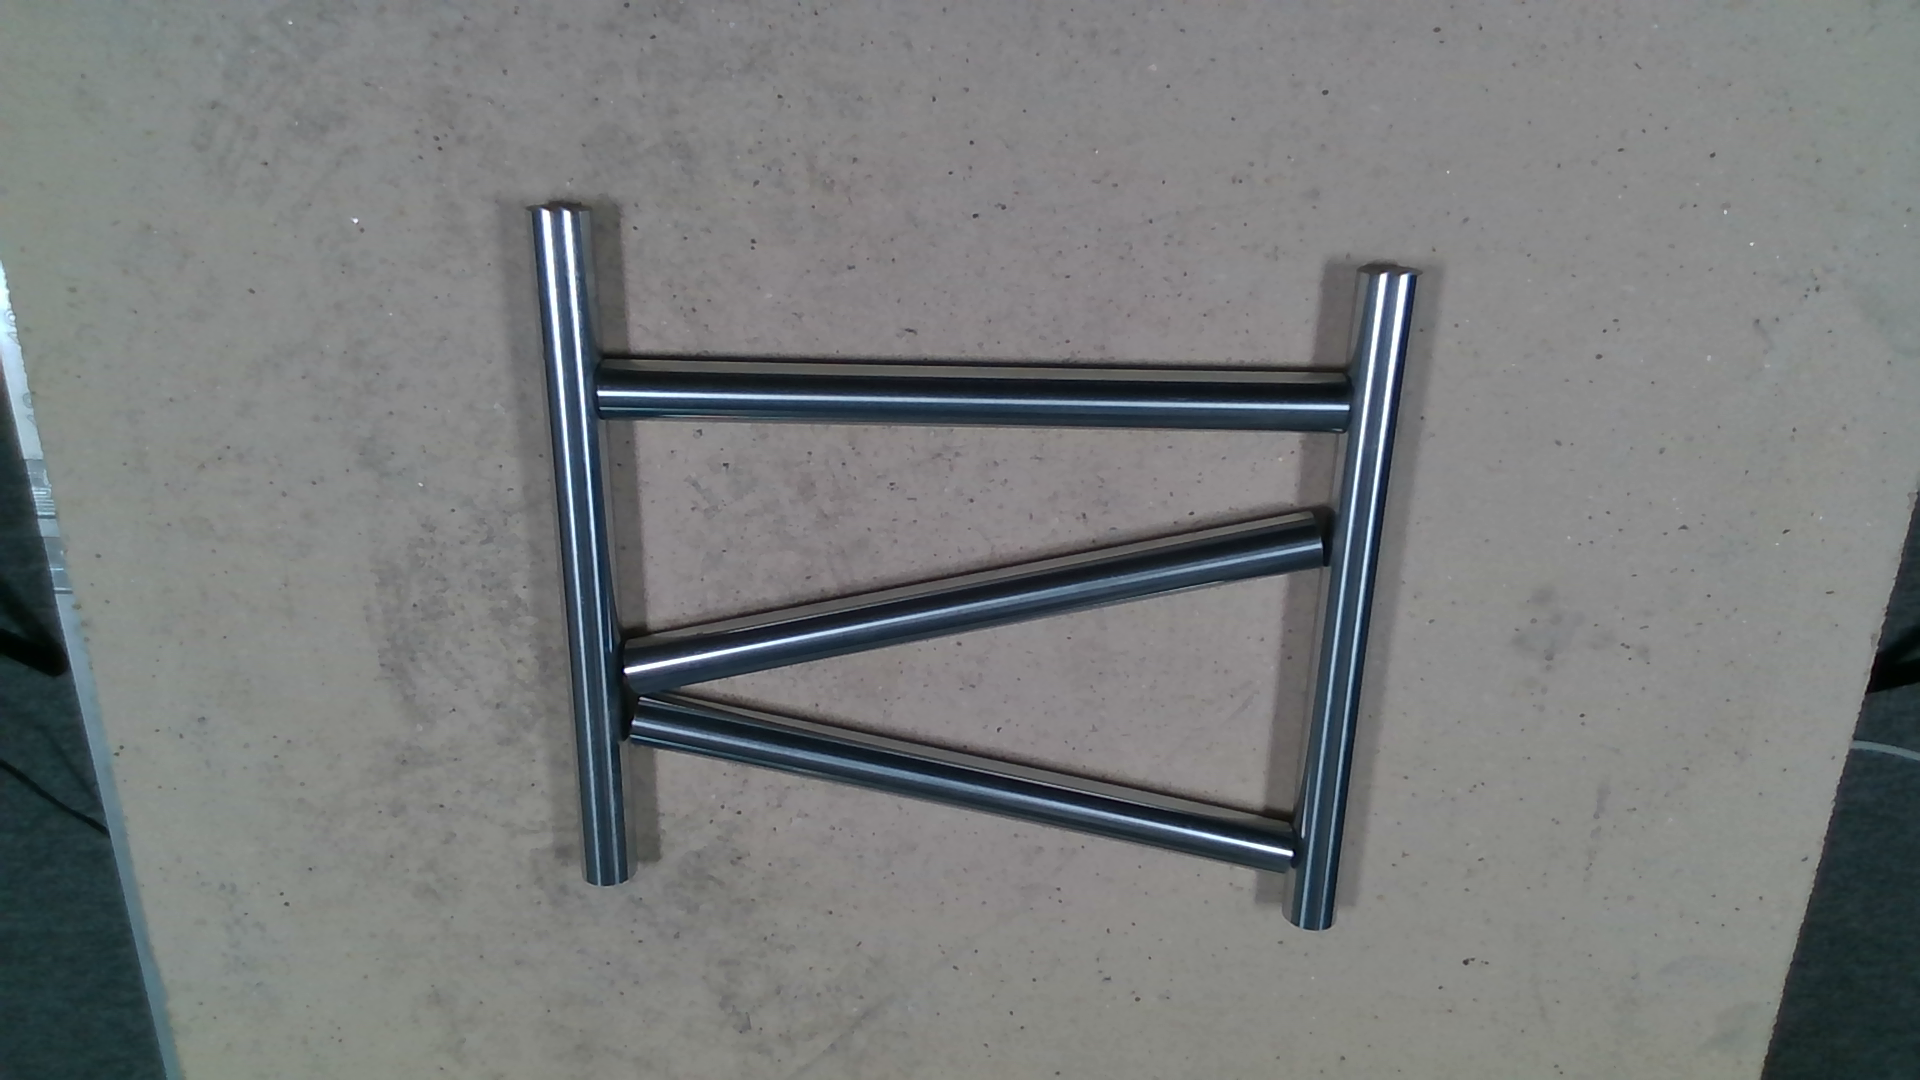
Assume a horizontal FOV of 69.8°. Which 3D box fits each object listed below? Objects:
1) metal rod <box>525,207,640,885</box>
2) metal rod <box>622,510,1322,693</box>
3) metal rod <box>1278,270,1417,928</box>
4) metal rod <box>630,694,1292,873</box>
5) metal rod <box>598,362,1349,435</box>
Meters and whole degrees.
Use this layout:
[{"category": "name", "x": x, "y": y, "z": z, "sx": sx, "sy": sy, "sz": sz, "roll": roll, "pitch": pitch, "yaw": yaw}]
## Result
[{"category": "metal rod", "x": -0.159, "y": 0.013, "z": 0.589, "sx": 0.025, "sy": 0.025, "sz": 0.301, "roll": 1, "pitch": 110, "yaw": 0}, {"category": "metal rod", "x": 0.003, "y": 0.027, "z": 0.594, "sx": 0.300, "sy": 0.025, "sz": 0.025, "roll": -11, "pitch": 110, "yaw": 4}, {"category": "metal rod", "x": 0.166, "y": 0.035, "z": 0.597, "sx": 0.025, "sy": 0.025, "sz": 0.301, "roll": 1, "pitch": 110, "yaw": 0}, {"category": "metal rod", "x": 0.003, "y": 0.110, "z": 0.624, "sx": 0.300, "sy": 0.025, "sz": 0.025, "roll": 12, "pitch": 110, "yaw": -5}, {"category": "metal rod", "x": 0.005, "y": -0.058, "z": 0.562, "sx": 0.300, "sy": 0.025, "sz": 0.025, "roll": 1, "pitch": 110, "yaw": 0}]
